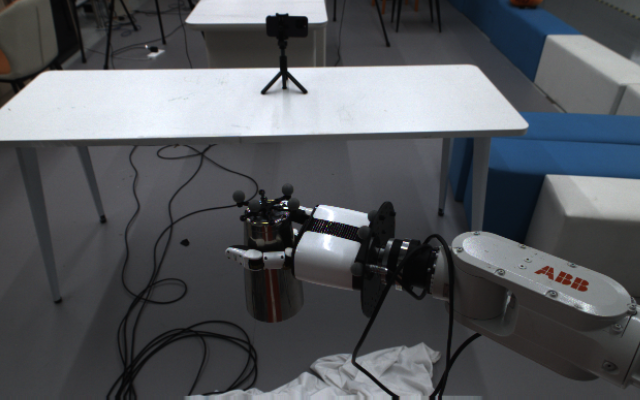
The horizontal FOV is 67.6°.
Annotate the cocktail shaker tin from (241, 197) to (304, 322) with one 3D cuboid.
[{"bbox_3d":[-0.069,0.085,0.722,0.093,0.170,0.093,-1,33,1],"label":"cocktail shaker tin"}]
